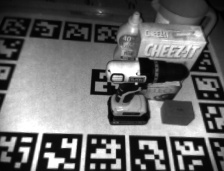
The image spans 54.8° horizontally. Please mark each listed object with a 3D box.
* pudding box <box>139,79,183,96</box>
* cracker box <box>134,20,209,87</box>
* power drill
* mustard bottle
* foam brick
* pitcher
[{"bbox_3d":[0.138,-0.008,0.628,0.114,0.090,0.038,1,56,-3],"label":"pudding box"},{"bbox_3d":[0.149,-0.078,0.610,0.164,0.214,0.071,-2,56,-4],"label":"cracker box"},{"bbox_3d":[0.082,0.005,0.531,0.185,0.187,0.057,1,54,-7],"label":"power drill"},{"bbox_3d":[0.061,-0.162,0.661,0.096,0.192,0.058,12,58,3],"label":"mustard bottle"},{"bbox_3d":[0.193,0.066,0.627,0.078,0.051,0.052,4,59,-4],"label":"foam brick"},{"bbox_3d":[0.194,-0.165,0.666,0.189,0.243,0.133,6,57,0],"label":"pitcher"}]
